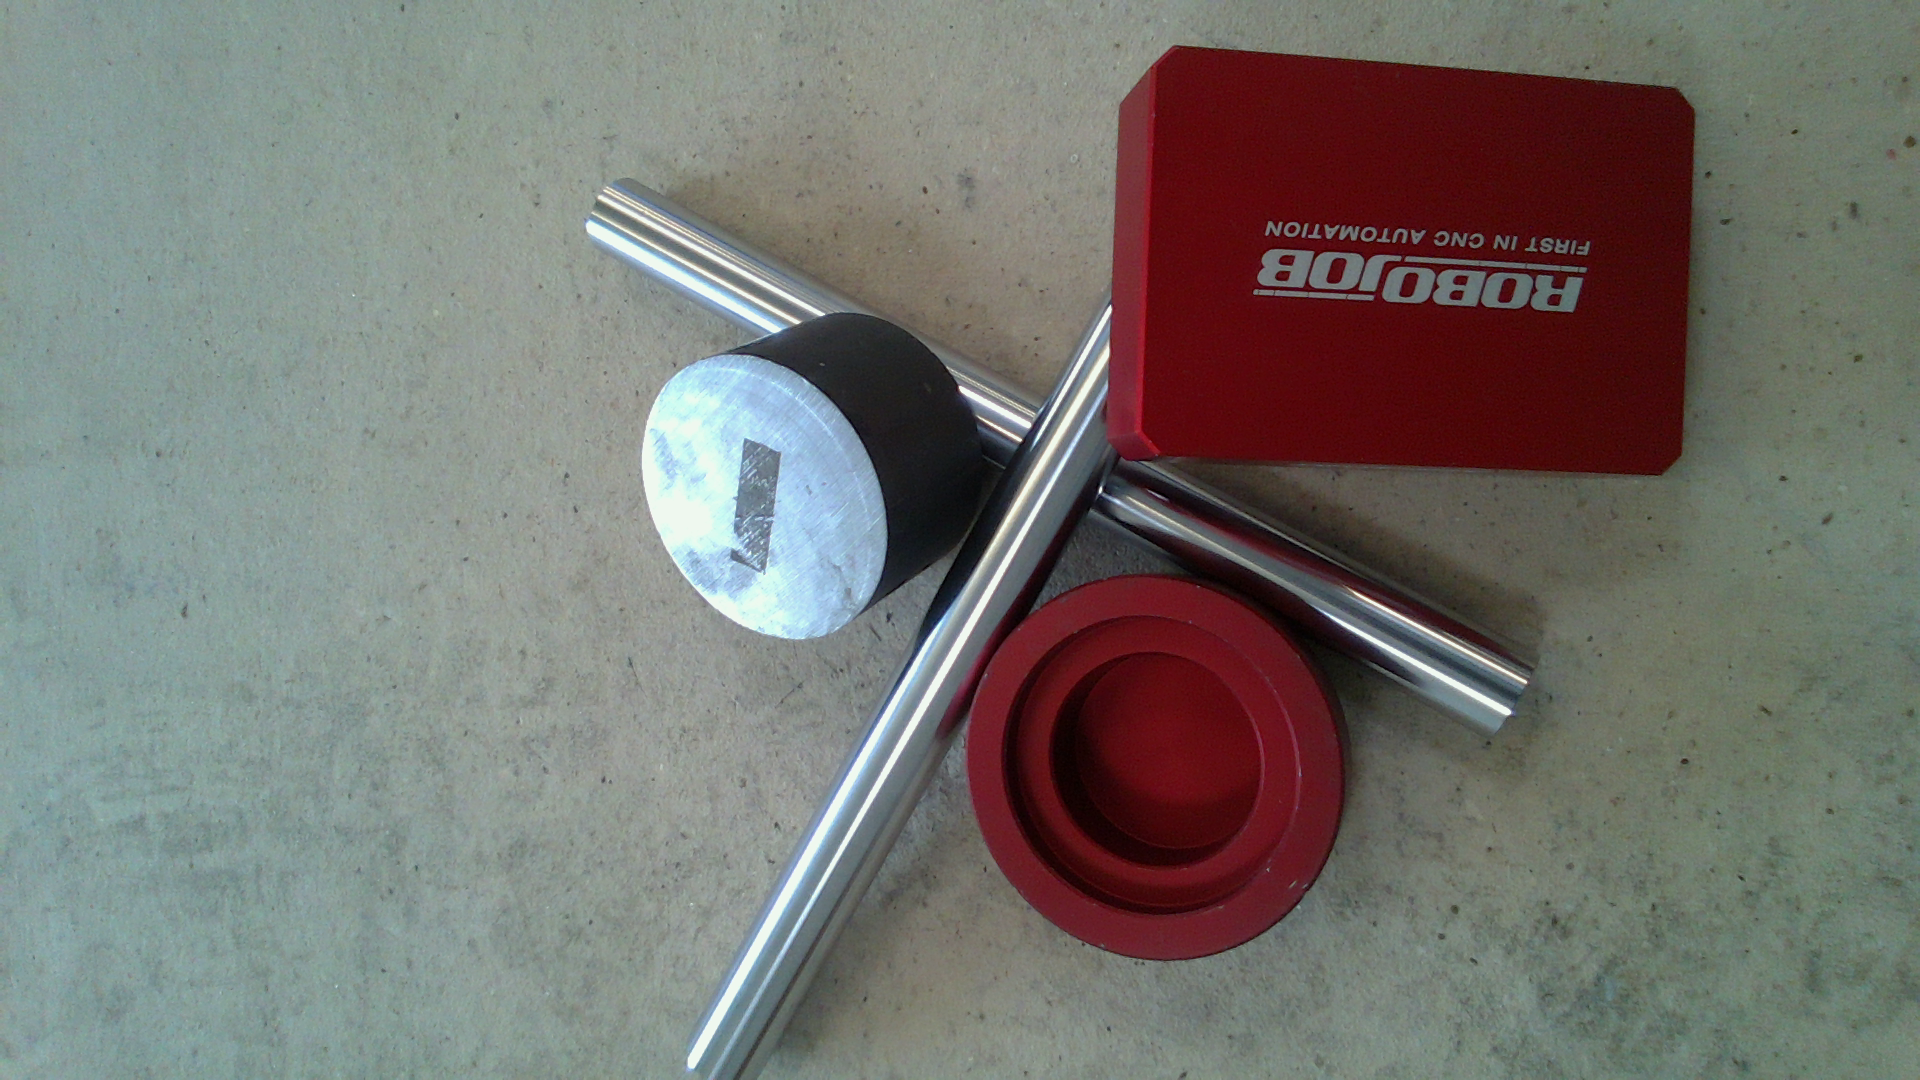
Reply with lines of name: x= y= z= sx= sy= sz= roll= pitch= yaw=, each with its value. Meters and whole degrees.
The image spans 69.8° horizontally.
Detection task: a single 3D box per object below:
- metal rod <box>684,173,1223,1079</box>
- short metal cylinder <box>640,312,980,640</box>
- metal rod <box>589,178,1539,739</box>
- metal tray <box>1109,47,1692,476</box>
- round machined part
metal rod: x=-0.003 y=0.033 z=0.379 sx=0.025 sy=0.025 sz=0.300 roll=34 pitch=108 yaw=17
short metal cylinder: x=-0.042 y=-0.019 z=0.384 sx=0.080 sy=0.050 sz=0.080 roll=13 pitch=117 yaw=28
metal rod: x=0.015 y=-0.032 z=0.391 sx=0.299 sy=0.025 sz=0.025 roll=30 pitch=100 yaw=17
metal tray: x=0.103 y=-0.062 z=0.326 sx=0.130 sy=0.030 sz=0.090 roll=2 pitch=91 yaw=-8
round machined part: x=0.054 y=0.058 z=0.368 sx=0.098 sy=0.042 sz=0.098 roll=0 pitch=90 yaw=20
